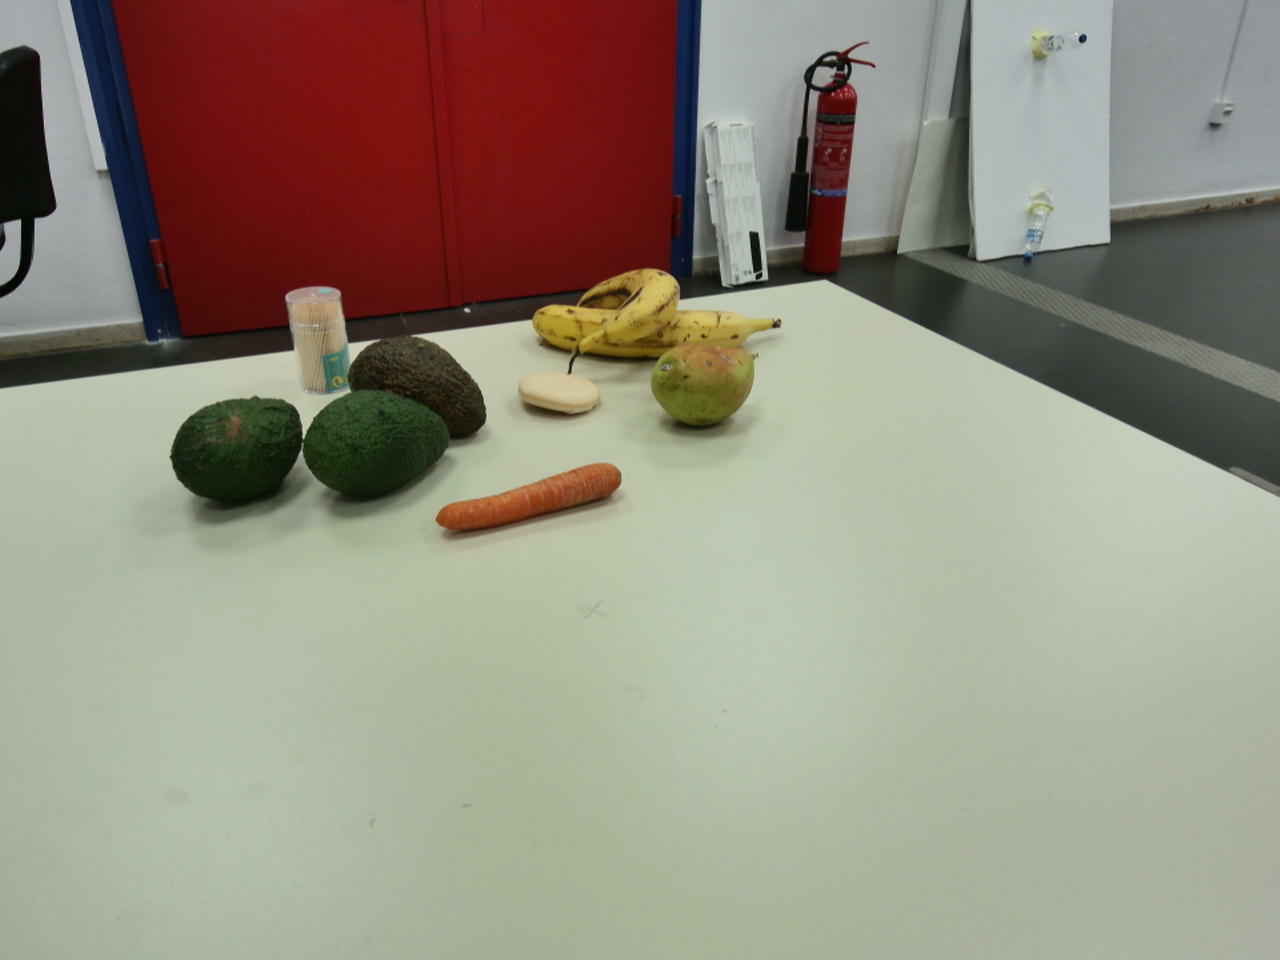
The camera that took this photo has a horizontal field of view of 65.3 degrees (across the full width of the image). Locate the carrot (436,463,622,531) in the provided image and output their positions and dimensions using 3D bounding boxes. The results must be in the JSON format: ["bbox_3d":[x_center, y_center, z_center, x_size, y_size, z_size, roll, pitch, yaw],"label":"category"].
[{"bbox_3d":[-0.066,0.010,0.621,0.122,0.023,0.024,-13,29,-24],"label":"carrot"}]
